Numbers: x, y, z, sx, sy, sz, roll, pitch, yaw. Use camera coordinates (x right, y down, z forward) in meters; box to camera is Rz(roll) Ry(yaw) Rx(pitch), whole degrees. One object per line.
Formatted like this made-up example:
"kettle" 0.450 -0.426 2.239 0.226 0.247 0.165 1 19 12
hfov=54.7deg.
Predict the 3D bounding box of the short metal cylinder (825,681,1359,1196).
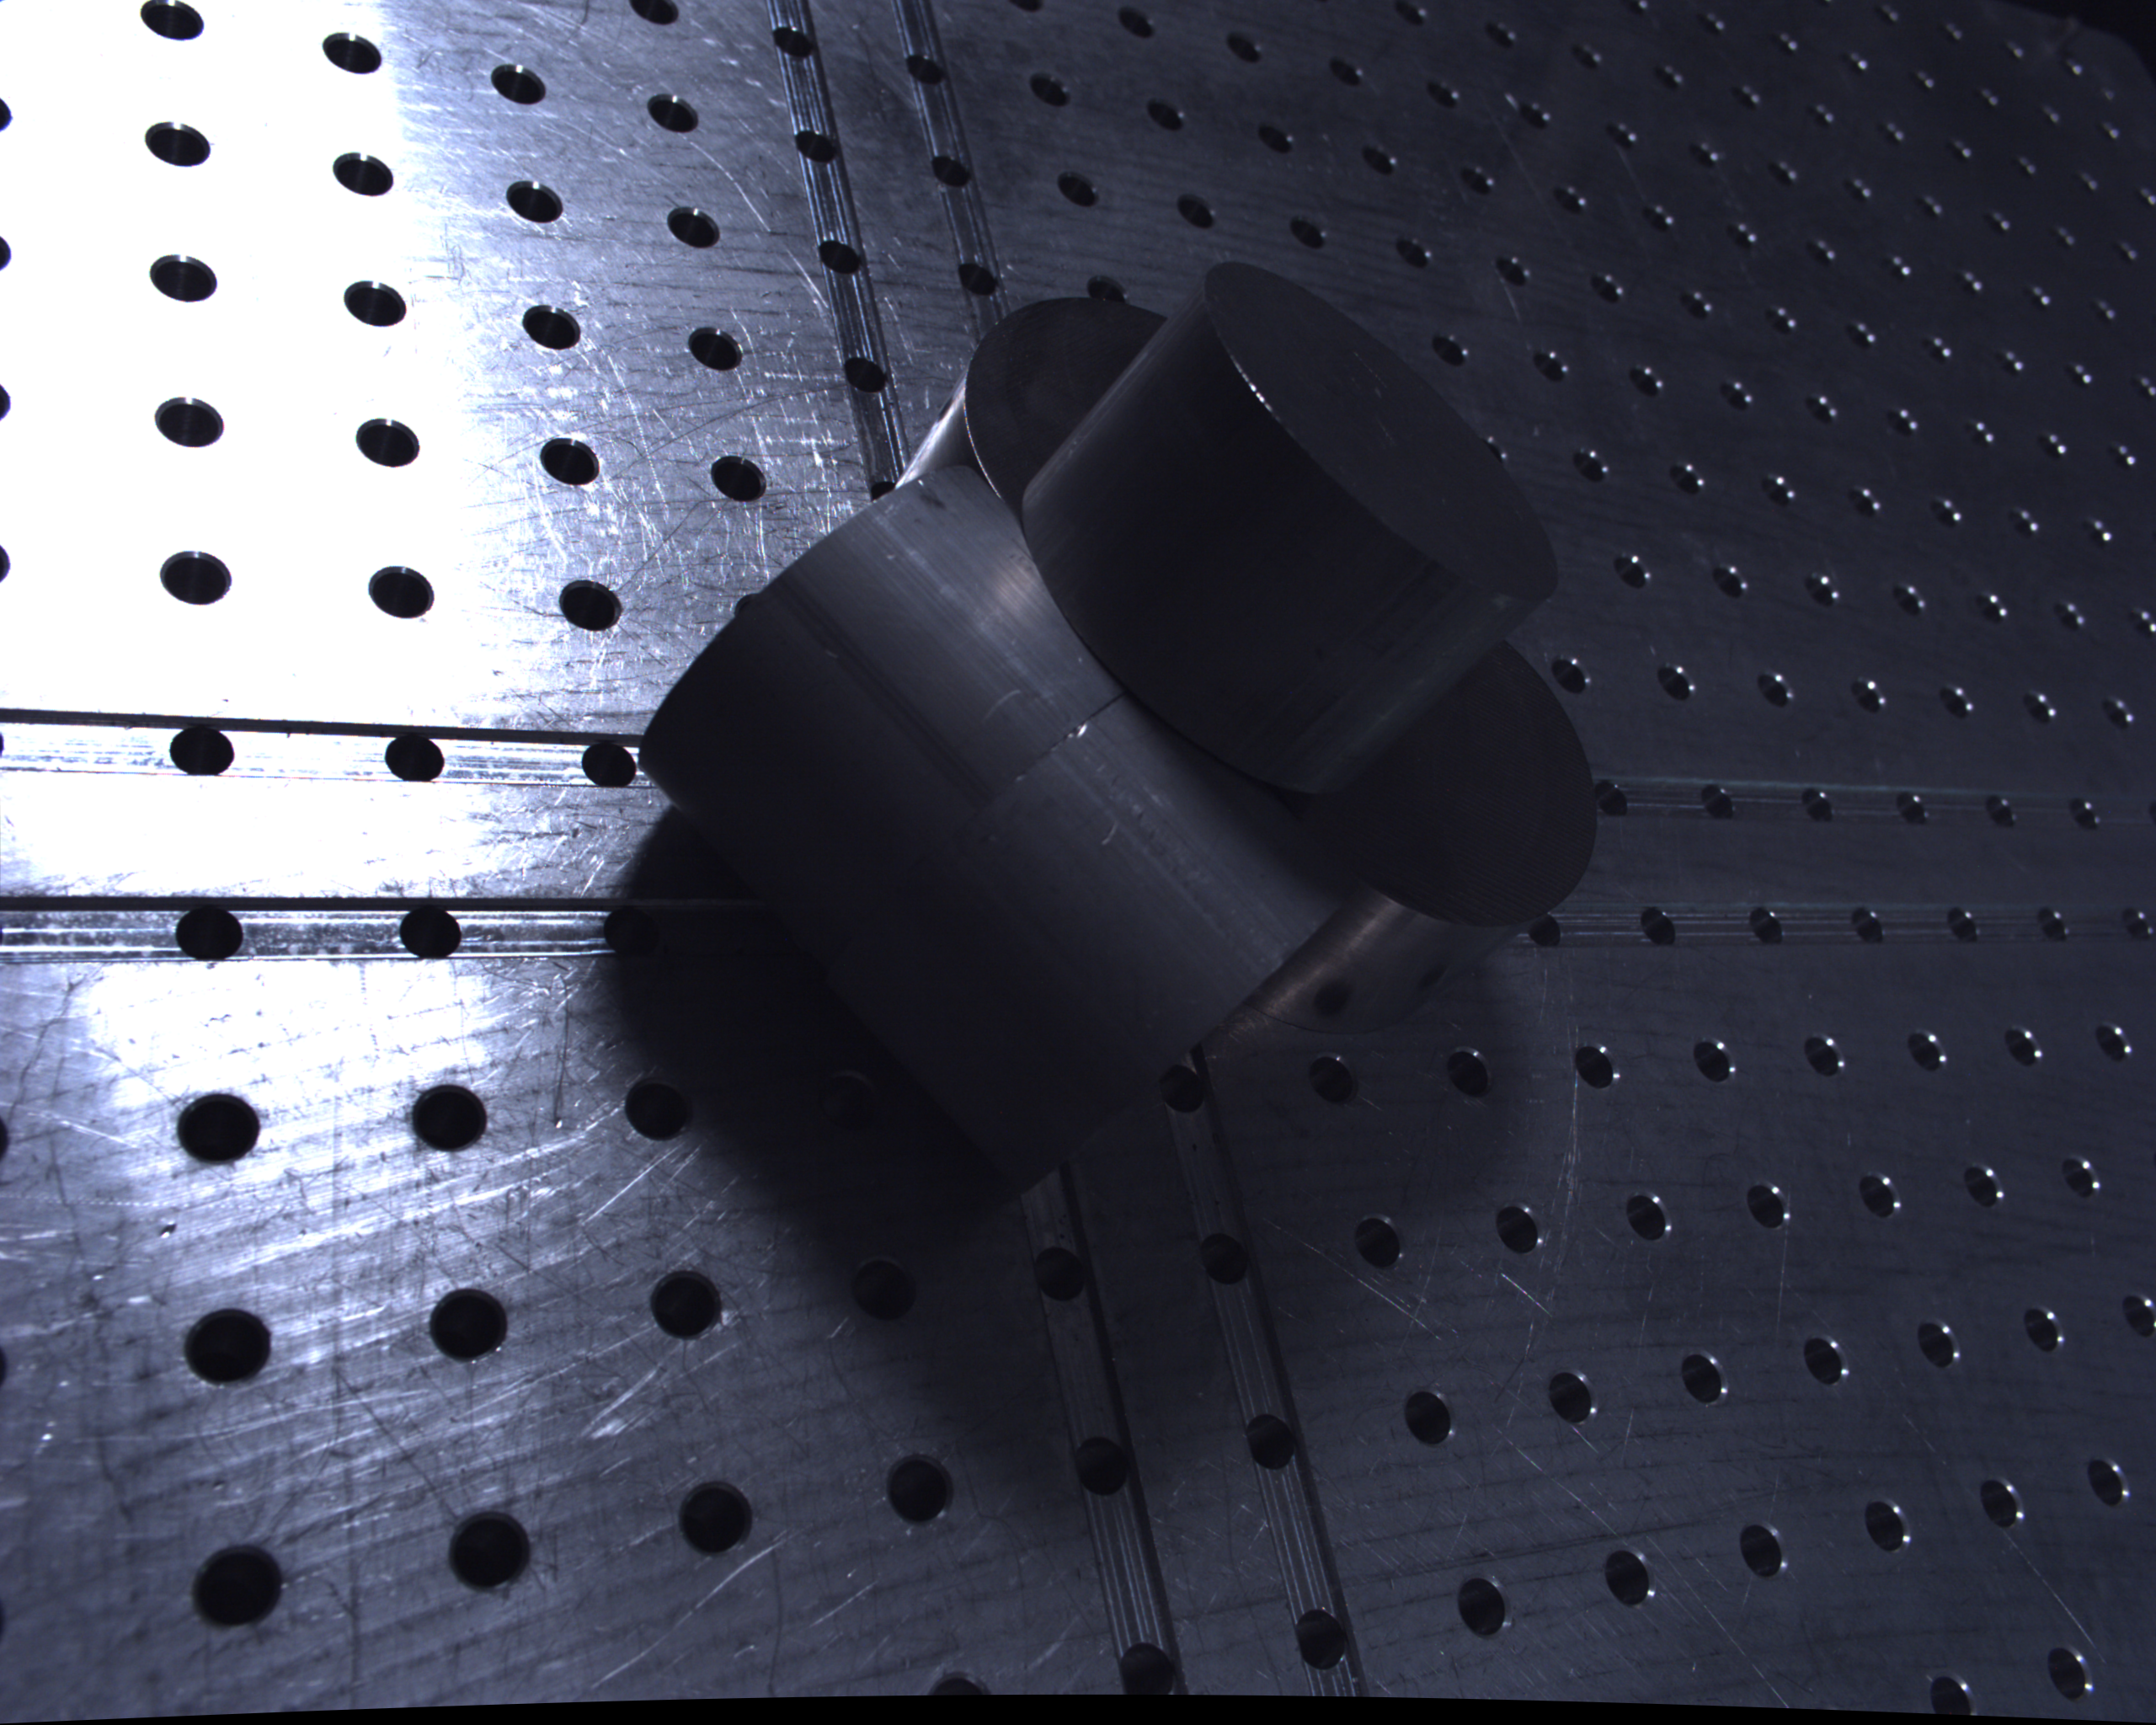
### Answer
"short metal cylinder" 0.003 0.013 0.368 0.050 0.080 0.080 47 51 4

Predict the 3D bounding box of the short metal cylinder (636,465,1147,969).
"short metal cylinder" -0.031 -0.025 0.373 0.050 0.080 0.080 47 51 4

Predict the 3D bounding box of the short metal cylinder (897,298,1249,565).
"short metal cylinder" 0.004 -0.071 0.437 0.081 0.050 0.080 14 56 -21

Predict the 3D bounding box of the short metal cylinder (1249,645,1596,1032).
"short metal cylinder" 0.058 -0.012 0.431 0.081 0.050 0.080 14 56 -21

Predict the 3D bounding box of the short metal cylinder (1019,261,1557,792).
"short metal cylinder" 0.037 -0.059 0.367 0.080 0.050 0.080 31 32 -22
